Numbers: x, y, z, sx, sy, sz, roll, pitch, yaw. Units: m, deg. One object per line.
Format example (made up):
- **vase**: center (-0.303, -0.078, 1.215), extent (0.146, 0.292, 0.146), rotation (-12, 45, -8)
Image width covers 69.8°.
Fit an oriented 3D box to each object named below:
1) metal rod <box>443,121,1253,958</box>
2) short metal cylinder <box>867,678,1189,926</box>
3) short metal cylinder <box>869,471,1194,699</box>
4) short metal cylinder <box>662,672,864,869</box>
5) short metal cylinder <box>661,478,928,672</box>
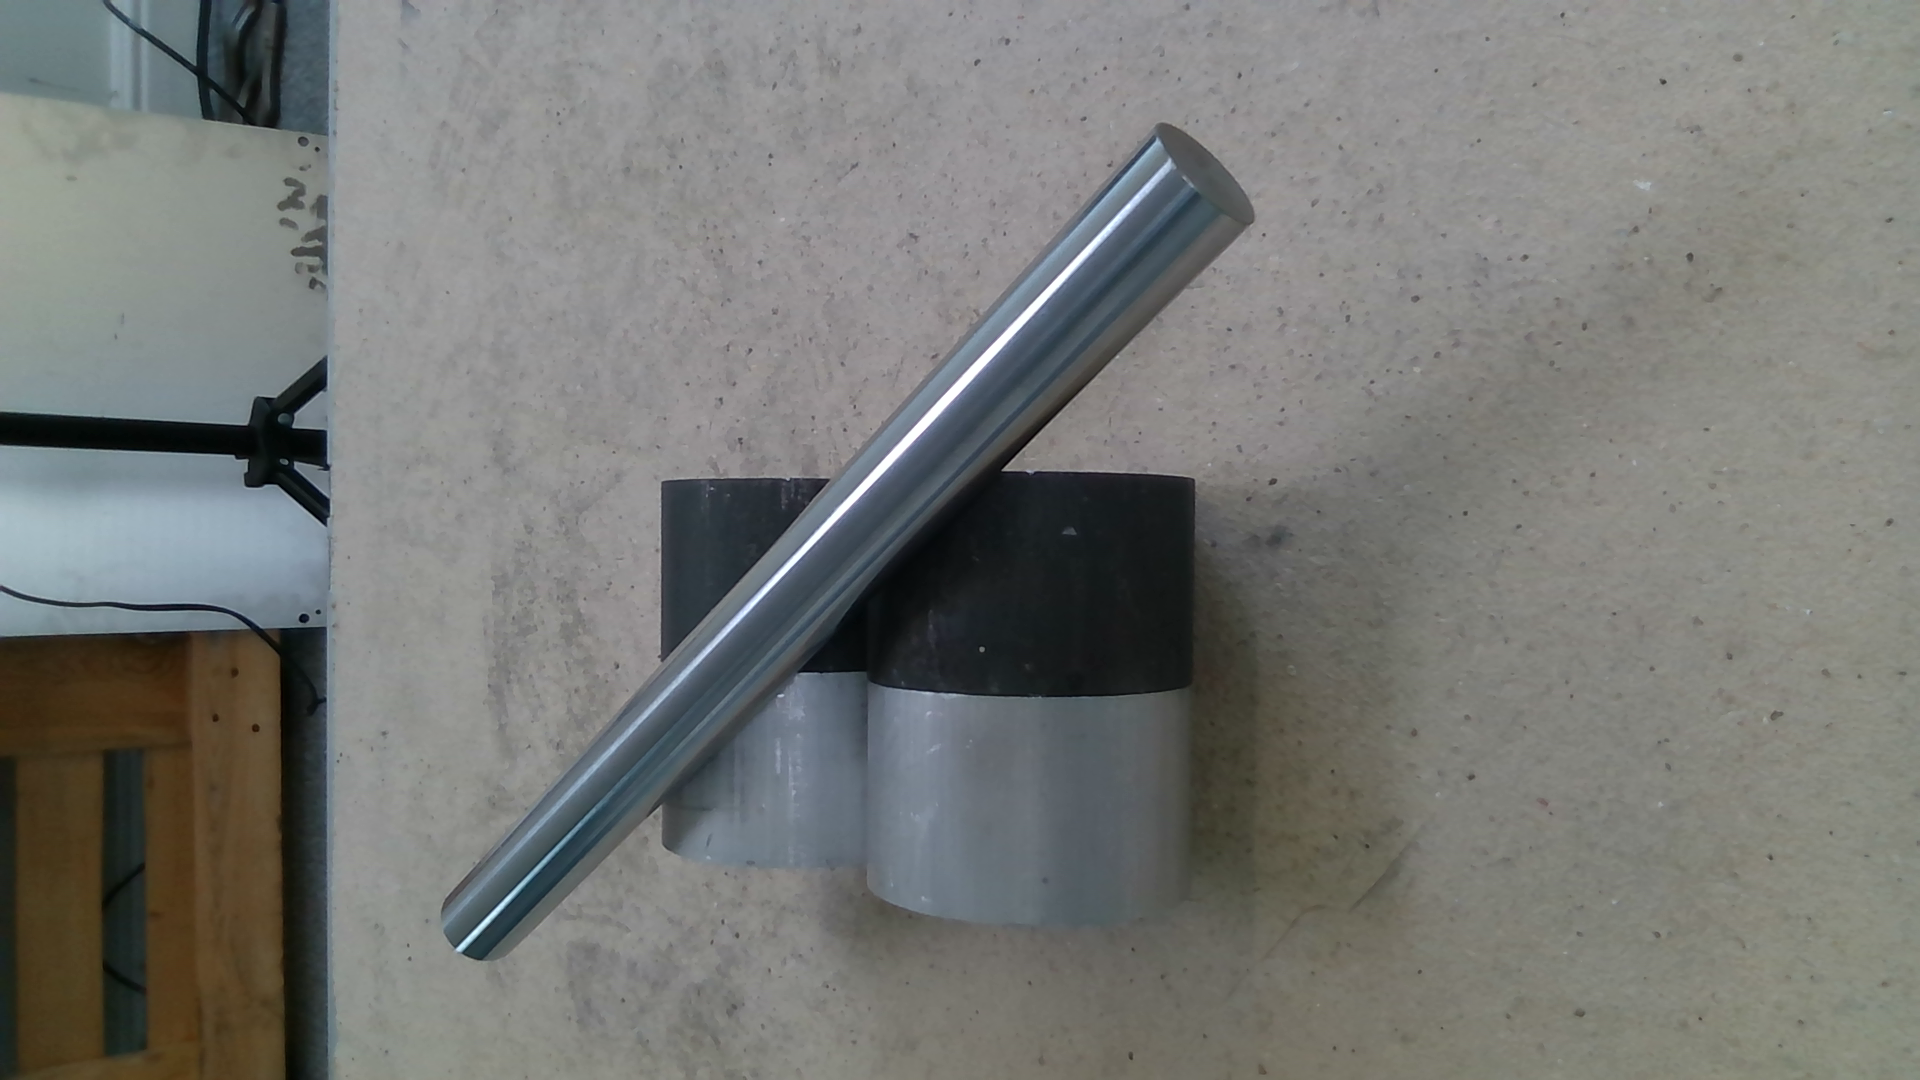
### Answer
- **metal rod**: center (-0.048, 0.022, 0.327), extent (0.301, 0.025, 0.025), rotation (-44, 64, 32)
- **short metal cylinder**: center (0.017, 0.059, 0.342), extent (0.080, 0.080, 0.050), rotation (1, 91, 40)
- **short metal cylinder**: center (0.017, 0.010, 0.341), extent (0.080, 0.080, 0.050), rotation (1, 91, 40)
- **short metal cylinder**: center (-0.044, 0.059, 0.393), extent (0.080, 0.080, 0.050), rotation (1, 91, 40)
- **short metal cylinder**: center (-0.045, 0.009, 0.393), extent (0.080, 0.080, 0.050), rotation (1, 91, 40)
